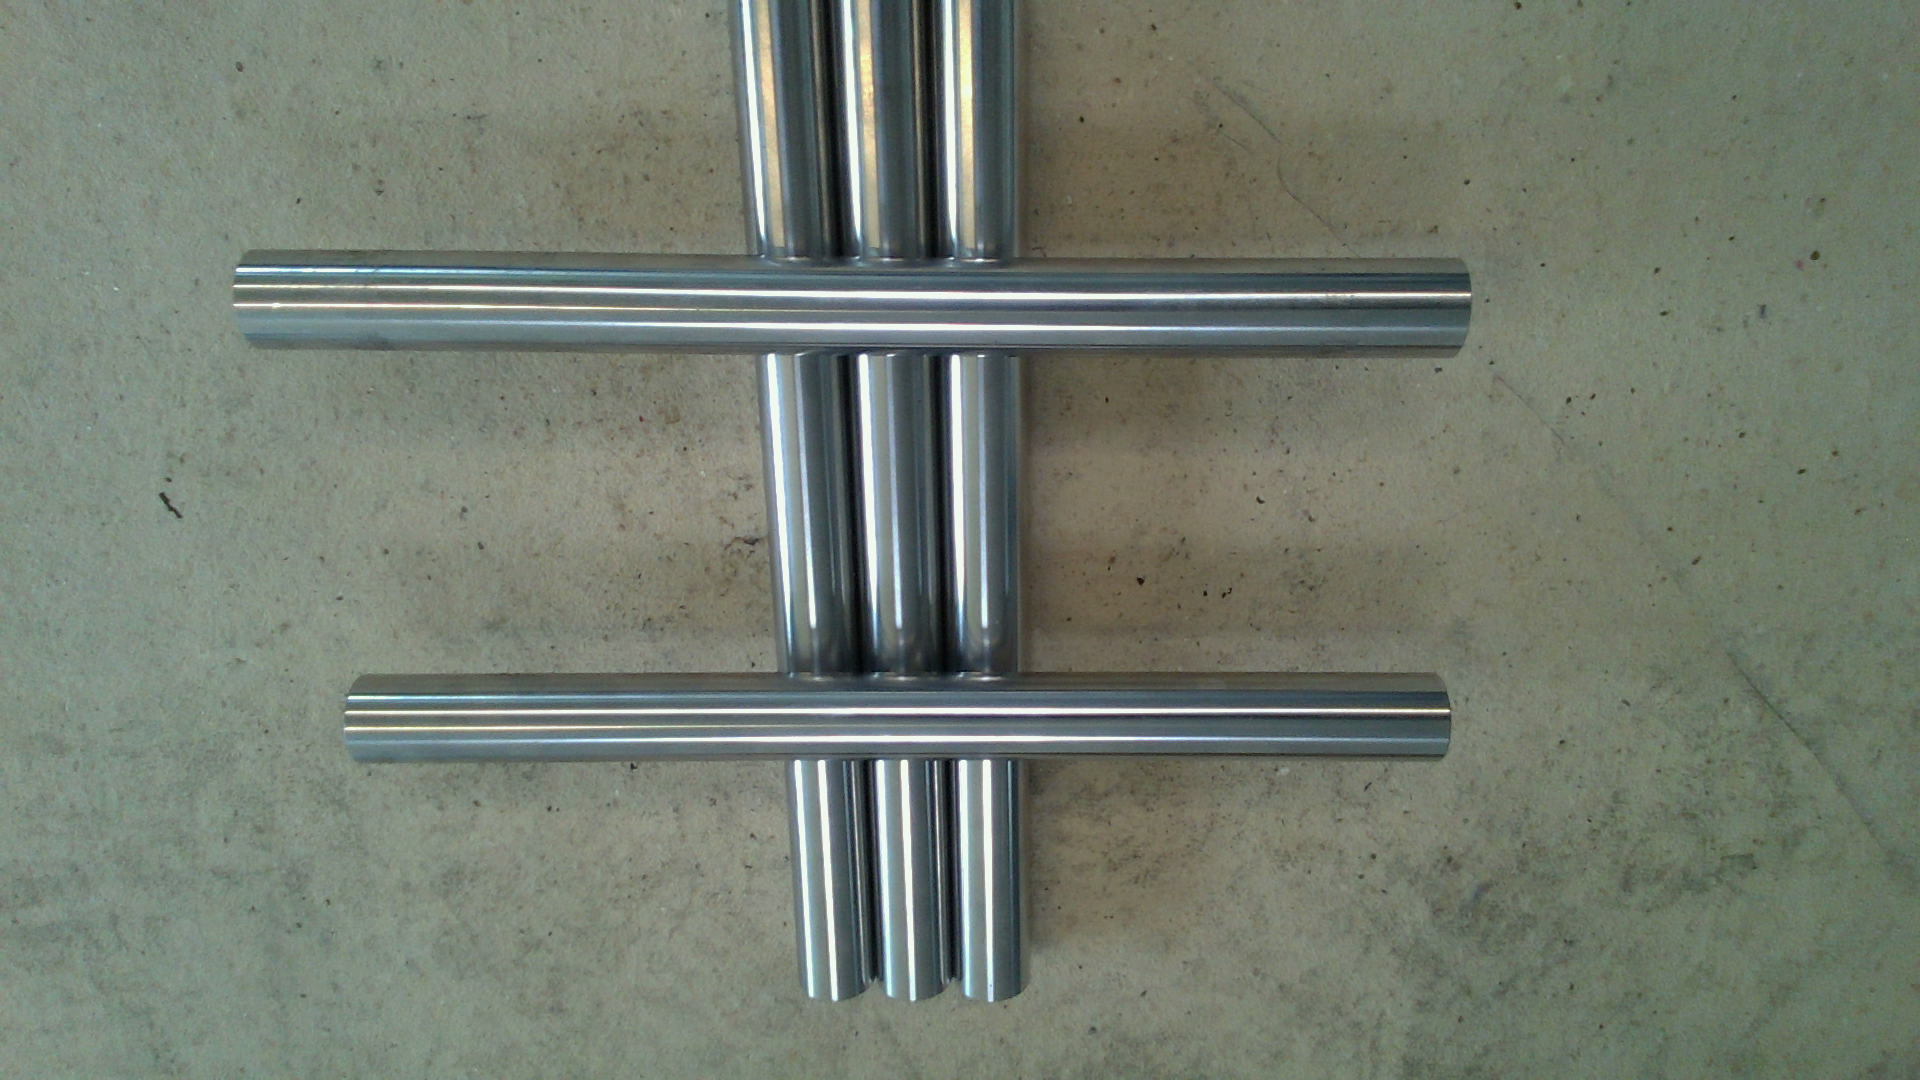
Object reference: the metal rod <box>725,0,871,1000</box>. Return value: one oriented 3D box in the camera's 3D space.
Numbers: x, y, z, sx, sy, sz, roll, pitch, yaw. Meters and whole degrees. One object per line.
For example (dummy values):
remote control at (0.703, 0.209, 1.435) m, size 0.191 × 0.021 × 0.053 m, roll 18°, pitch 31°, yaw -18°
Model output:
metal rod at (-0.043, 0.000, 0.394) m, size 0.025 × 0.025 × 0.300 m, roll -1°, pitch 110°, yaw 0°

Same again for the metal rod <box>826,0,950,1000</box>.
metal rod at (-0.018, 0.000, 0.394) m, size 0.025 × 0.025 × 0.300 m, roll -1°, pitch 110°, yaw 0°

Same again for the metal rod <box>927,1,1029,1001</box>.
metal rod at (0.007, 0.001, 0.394) m, size 0.025 × 0.025 × 0.300 m, roll -1°, pitch 110°, yaw 0°

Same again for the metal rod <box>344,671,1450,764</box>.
metal rod at (-0.017, 0.050, 0.386) m, size 0.300 × 0.025 × 0.025 m, roll 0°, pitch 110°, yaw 0°

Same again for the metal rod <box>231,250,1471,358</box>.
metal rod at (-0.026, -0.059, 0.345) m, size 0.300 × 0.025 × 0.025 m, roll 0°, pitch 110°, yaw -1°
